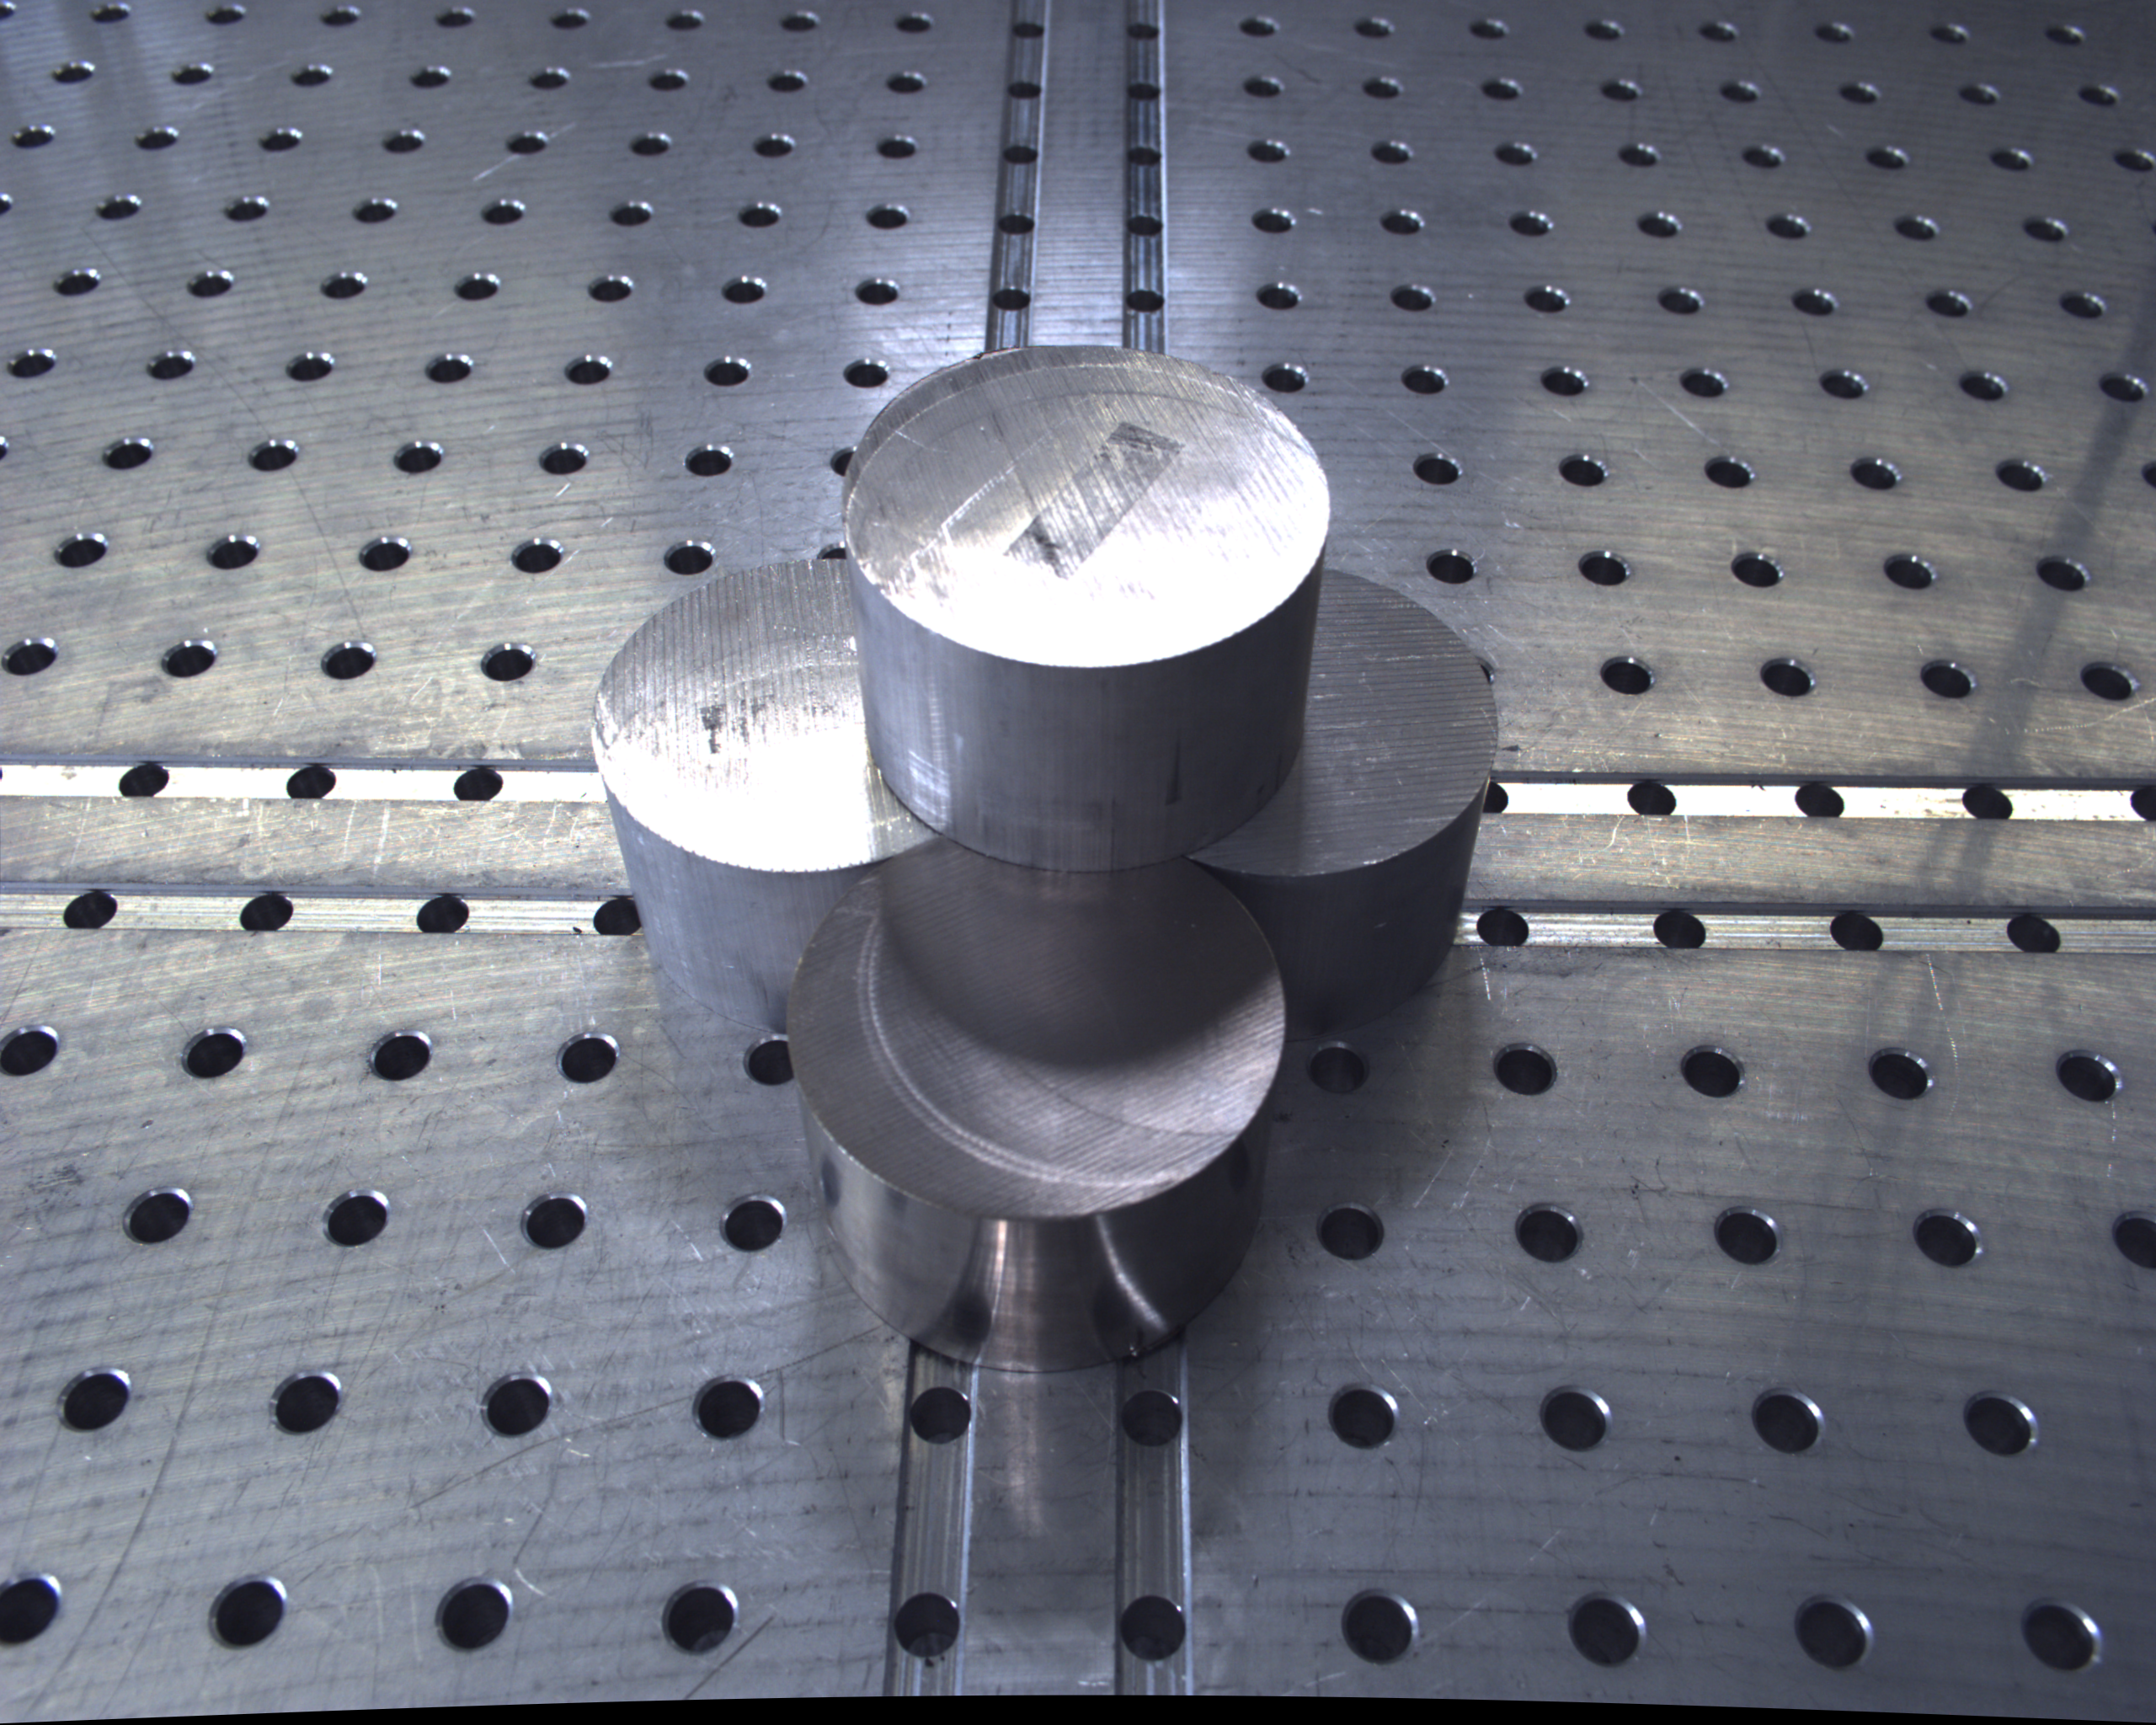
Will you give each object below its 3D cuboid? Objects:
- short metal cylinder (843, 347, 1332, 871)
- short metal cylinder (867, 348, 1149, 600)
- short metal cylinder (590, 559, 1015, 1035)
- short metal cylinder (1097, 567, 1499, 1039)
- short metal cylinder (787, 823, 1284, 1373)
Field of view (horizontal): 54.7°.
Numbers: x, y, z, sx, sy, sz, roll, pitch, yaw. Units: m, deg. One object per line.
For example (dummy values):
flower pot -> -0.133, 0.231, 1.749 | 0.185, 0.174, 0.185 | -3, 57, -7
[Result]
short metal cylinder -> 0.002, -0.045, 0.363 | 0.081, 0.050, 0.080 | 0, 50, 0
short metal cylinder -> -0.006, -0.065, 0.446 | 0.081, 0.050, 0.080 | 1, 50, -1
short metal cylinder -> -0.049, -0.013, 0.402 | 0.081, 0.050, 0.080 | 0, 50, 0
short metal cylinder -> 0.037, -0.013, 0.401 | 0.081, 0.050, 0.080 | 0, 50, 0
short metal cylinder -> -0.007, 0.039, 0.357 | 0.081, 0.050, 0.080 | 0, 48, 0
